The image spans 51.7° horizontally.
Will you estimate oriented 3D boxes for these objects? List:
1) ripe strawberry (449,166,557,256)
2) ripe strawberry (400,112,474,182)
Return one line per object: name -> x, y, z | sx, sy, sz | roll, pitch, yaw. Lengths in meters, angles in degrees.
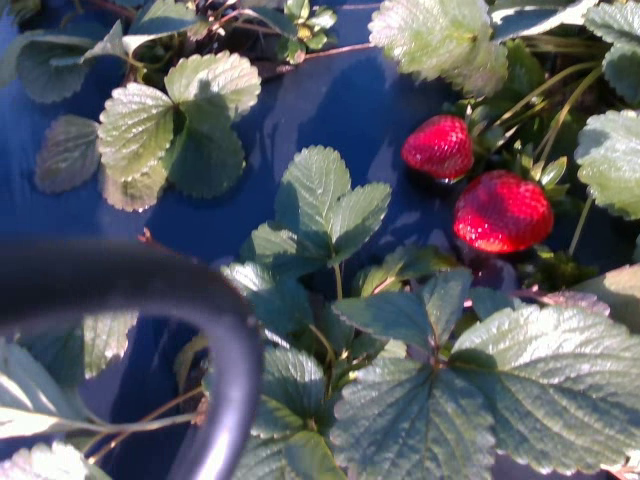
ripe strawberry -> 0.088, -0.009, 0.327 | 0.058, 0.046, 0.052 | -27, 36, -31
ripe strawberry -> 0.060, -0.050, 0.353 | 0.051, 0.037, 0.043 | -33, 32, -34
